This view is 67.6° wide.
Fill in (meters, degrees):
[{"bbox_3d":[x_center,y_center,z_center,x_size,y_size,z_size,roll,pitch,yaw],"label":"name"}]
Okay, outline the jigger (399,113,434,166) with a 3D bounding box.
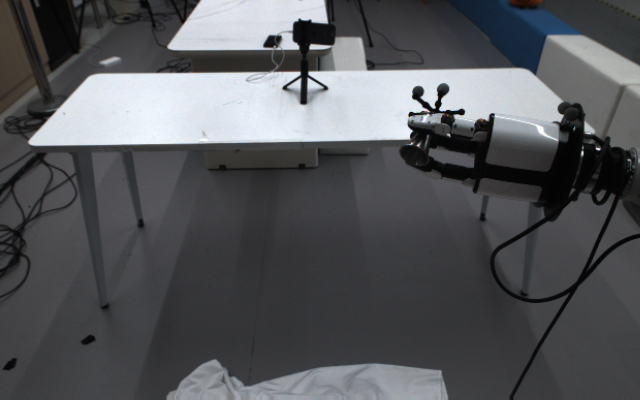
[{"bbox_3d":[0.144,-0.092,0.682,0.043,0.043,0.071,19,61,23],"label":"jigger"}]
